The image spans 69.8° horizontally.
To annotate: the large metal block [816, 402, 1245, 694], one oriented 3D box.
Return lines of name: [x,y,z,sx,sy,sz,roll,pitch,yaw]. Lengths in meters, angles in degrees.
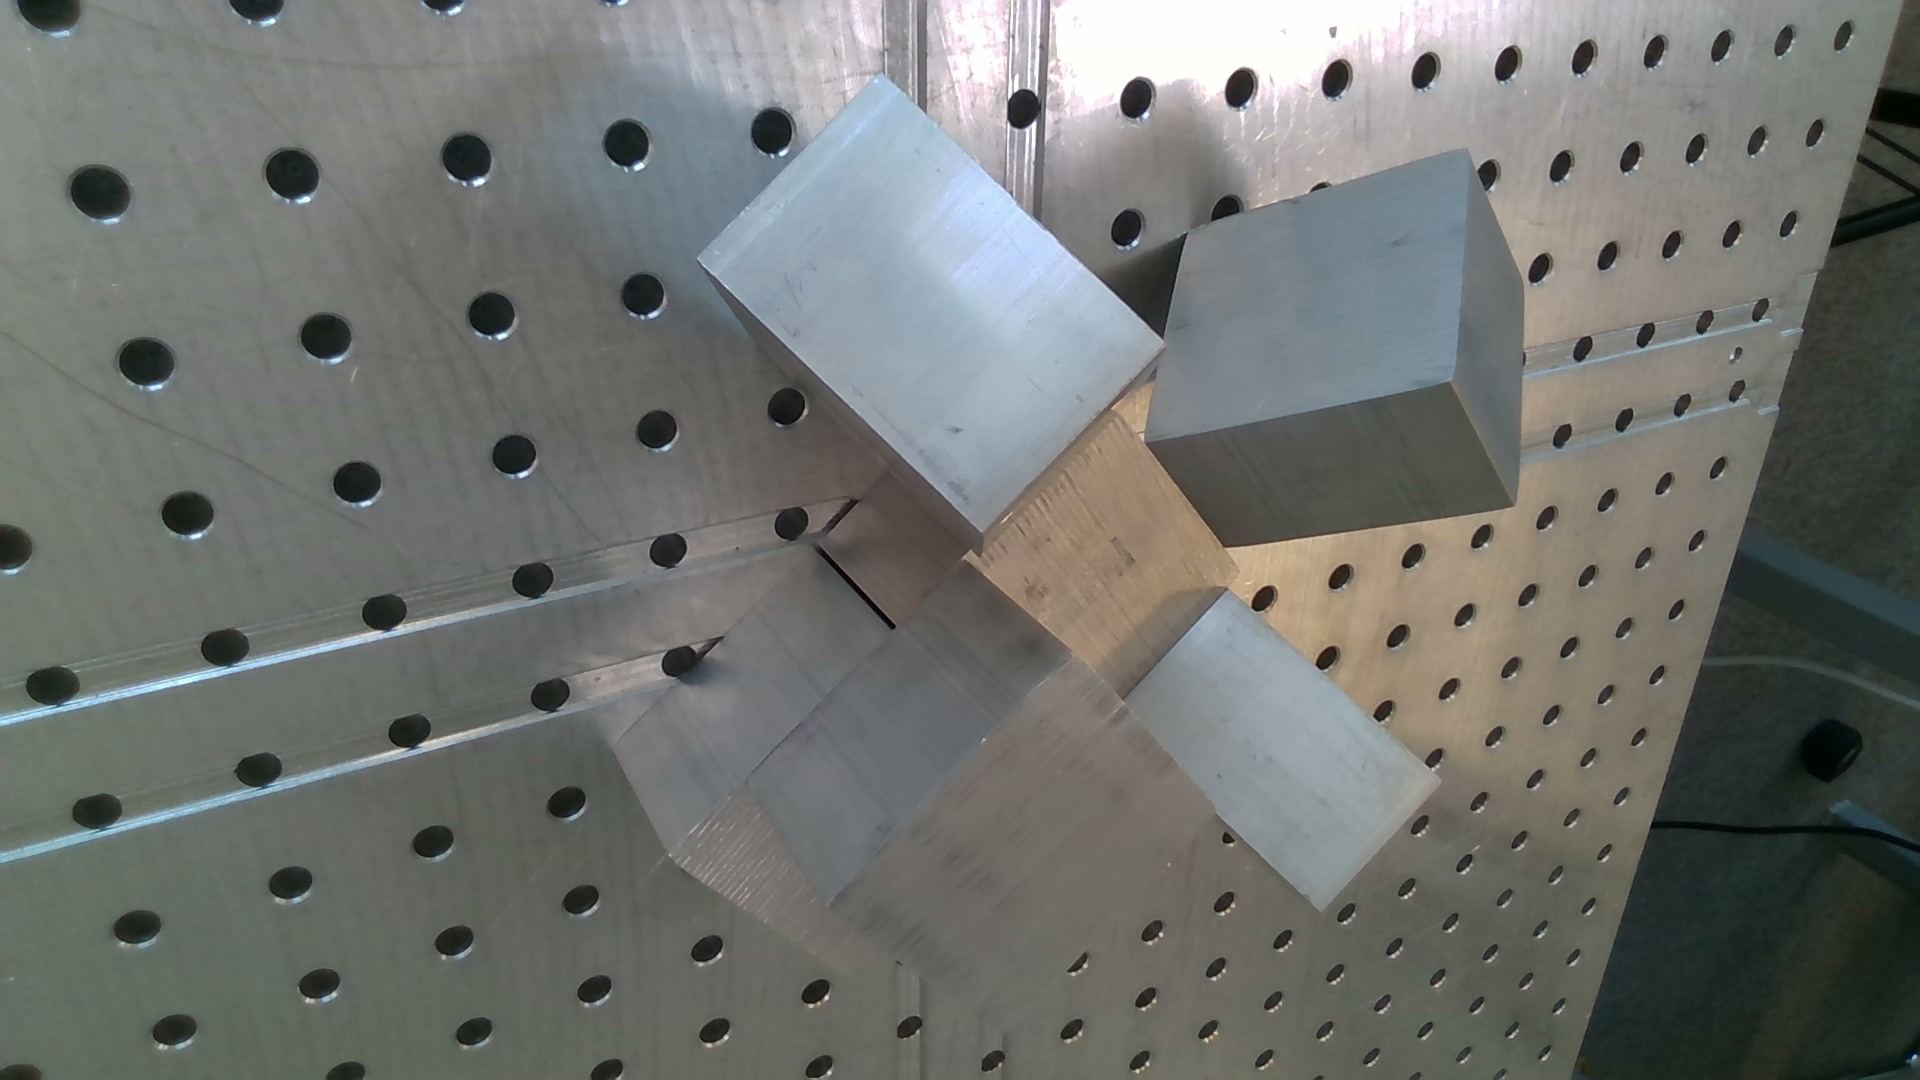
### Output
large metal block: [0.021,0.004,0.391,0.080,0.050,0.080,-46,129,-2]

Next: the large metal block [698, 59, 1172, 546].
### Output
large metal block: [-0.005,-0.047,0.309,0.080,0.080,0.050,43,87,2]

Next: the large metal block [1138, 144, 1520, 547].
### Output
large metal block: [0.102,-0.050,0.372,0.050,0.080,0.080,46,48,-39]

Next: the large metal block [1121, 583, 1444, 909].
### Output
large metal block: [0.093,0.064,0.428,0.050,0.080,0.080,-46,169,-2]

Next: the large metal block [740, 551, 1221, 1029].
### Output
large metal block: [0.007,0.064,0.349,0.080,0.050,0.080,-45,130,-2]

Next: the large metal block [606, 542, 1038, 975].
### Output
large metal block: [-0.036,0.062,0.386,0.080,0.050,0.080,-46,130,-4]
